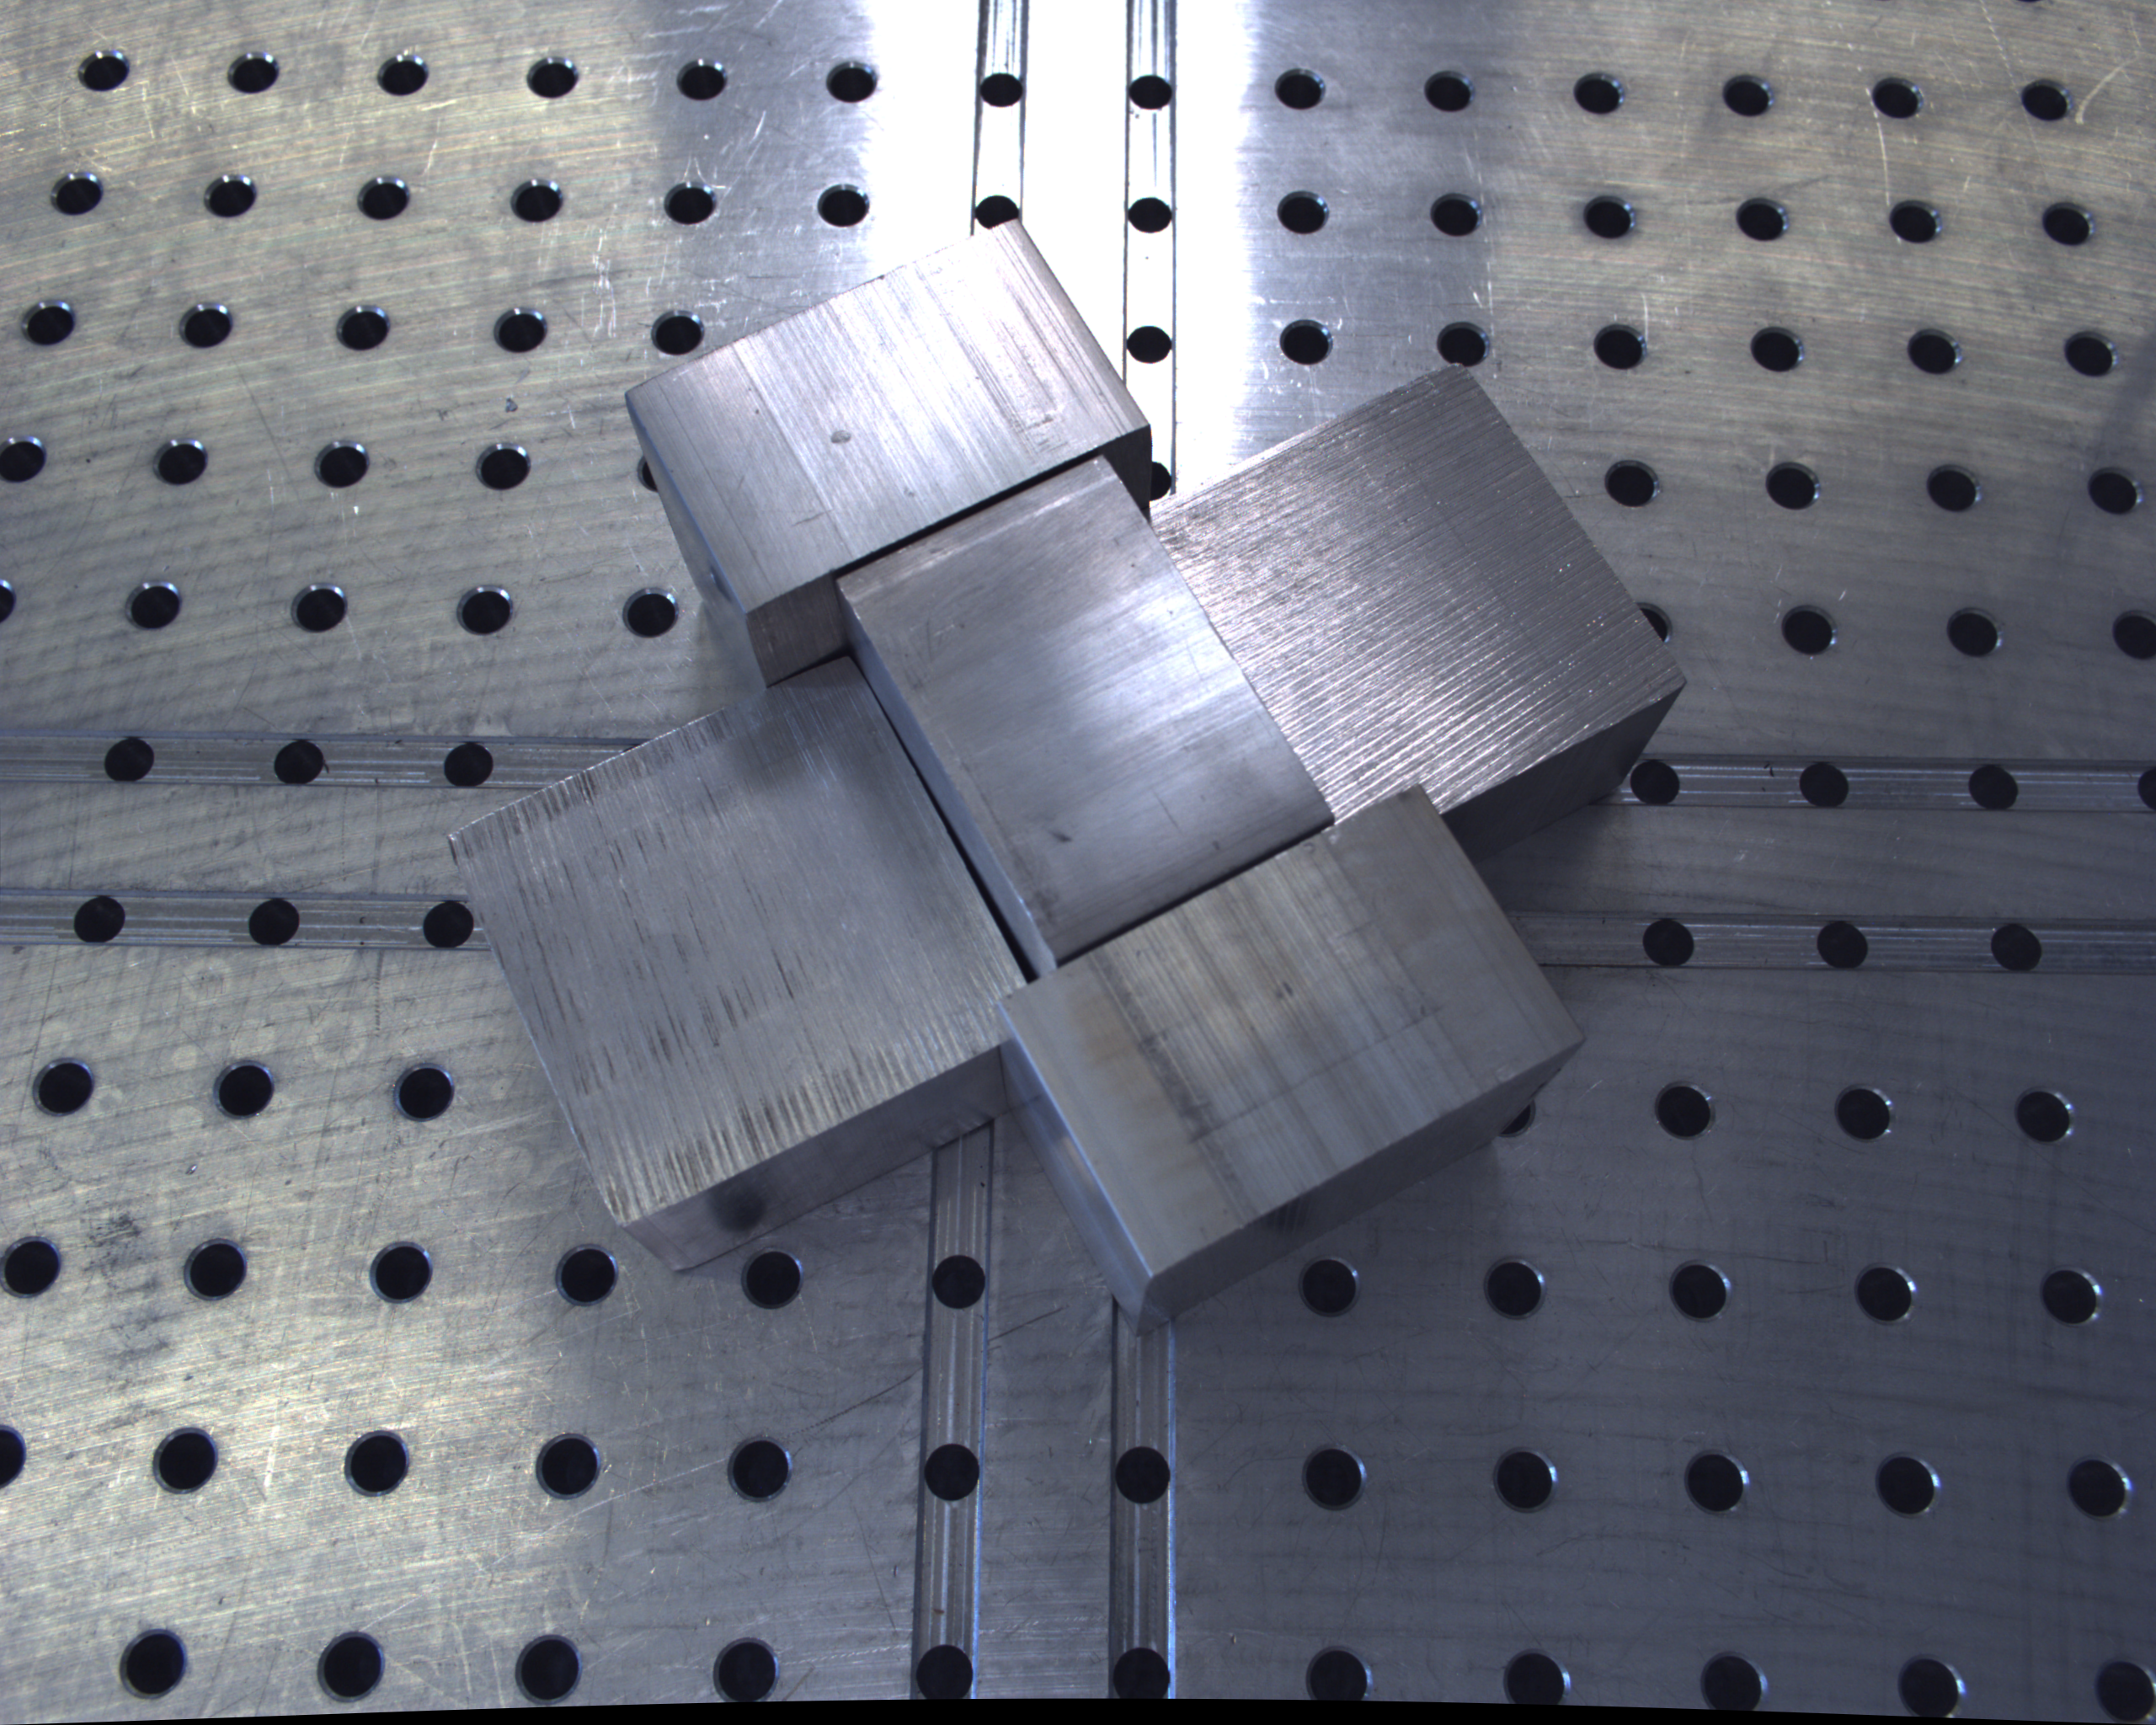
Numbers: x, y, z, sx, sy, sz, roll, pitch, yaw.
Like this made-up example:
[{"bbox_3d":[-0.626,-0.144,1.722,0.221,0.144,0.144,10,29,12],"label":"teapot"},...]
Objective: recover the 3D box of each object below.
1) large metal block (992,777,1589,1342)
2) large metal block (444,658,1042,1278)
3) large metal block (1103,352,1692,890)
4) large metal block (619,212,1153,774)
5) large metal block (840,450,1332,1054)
[{"bbox_3d":[0.033,0.038,0.369,0.080,0.080,0.050,-27,72,-10],"label":"large metal block"},{"bbox_3d":[-0.060,0.021,0.392,0.080,0.050,0.080,-25,72,-9],"label":"large metal block"},{"bbox_3d":[0.058,-0.041,0.413,0.080,0.050,0.080,-27,74,-9],"label":"large metal block"},{"bbox_3d":[-0.034,-0.067,0.406,0.080,0.080,0.050,-27,72,-9],"label":"large metal block"},{"bbox_3d":[0.001,-0.015,0.388,0.050,0.080,0.080,-27,72,-9],"label":"large metal block"}]
